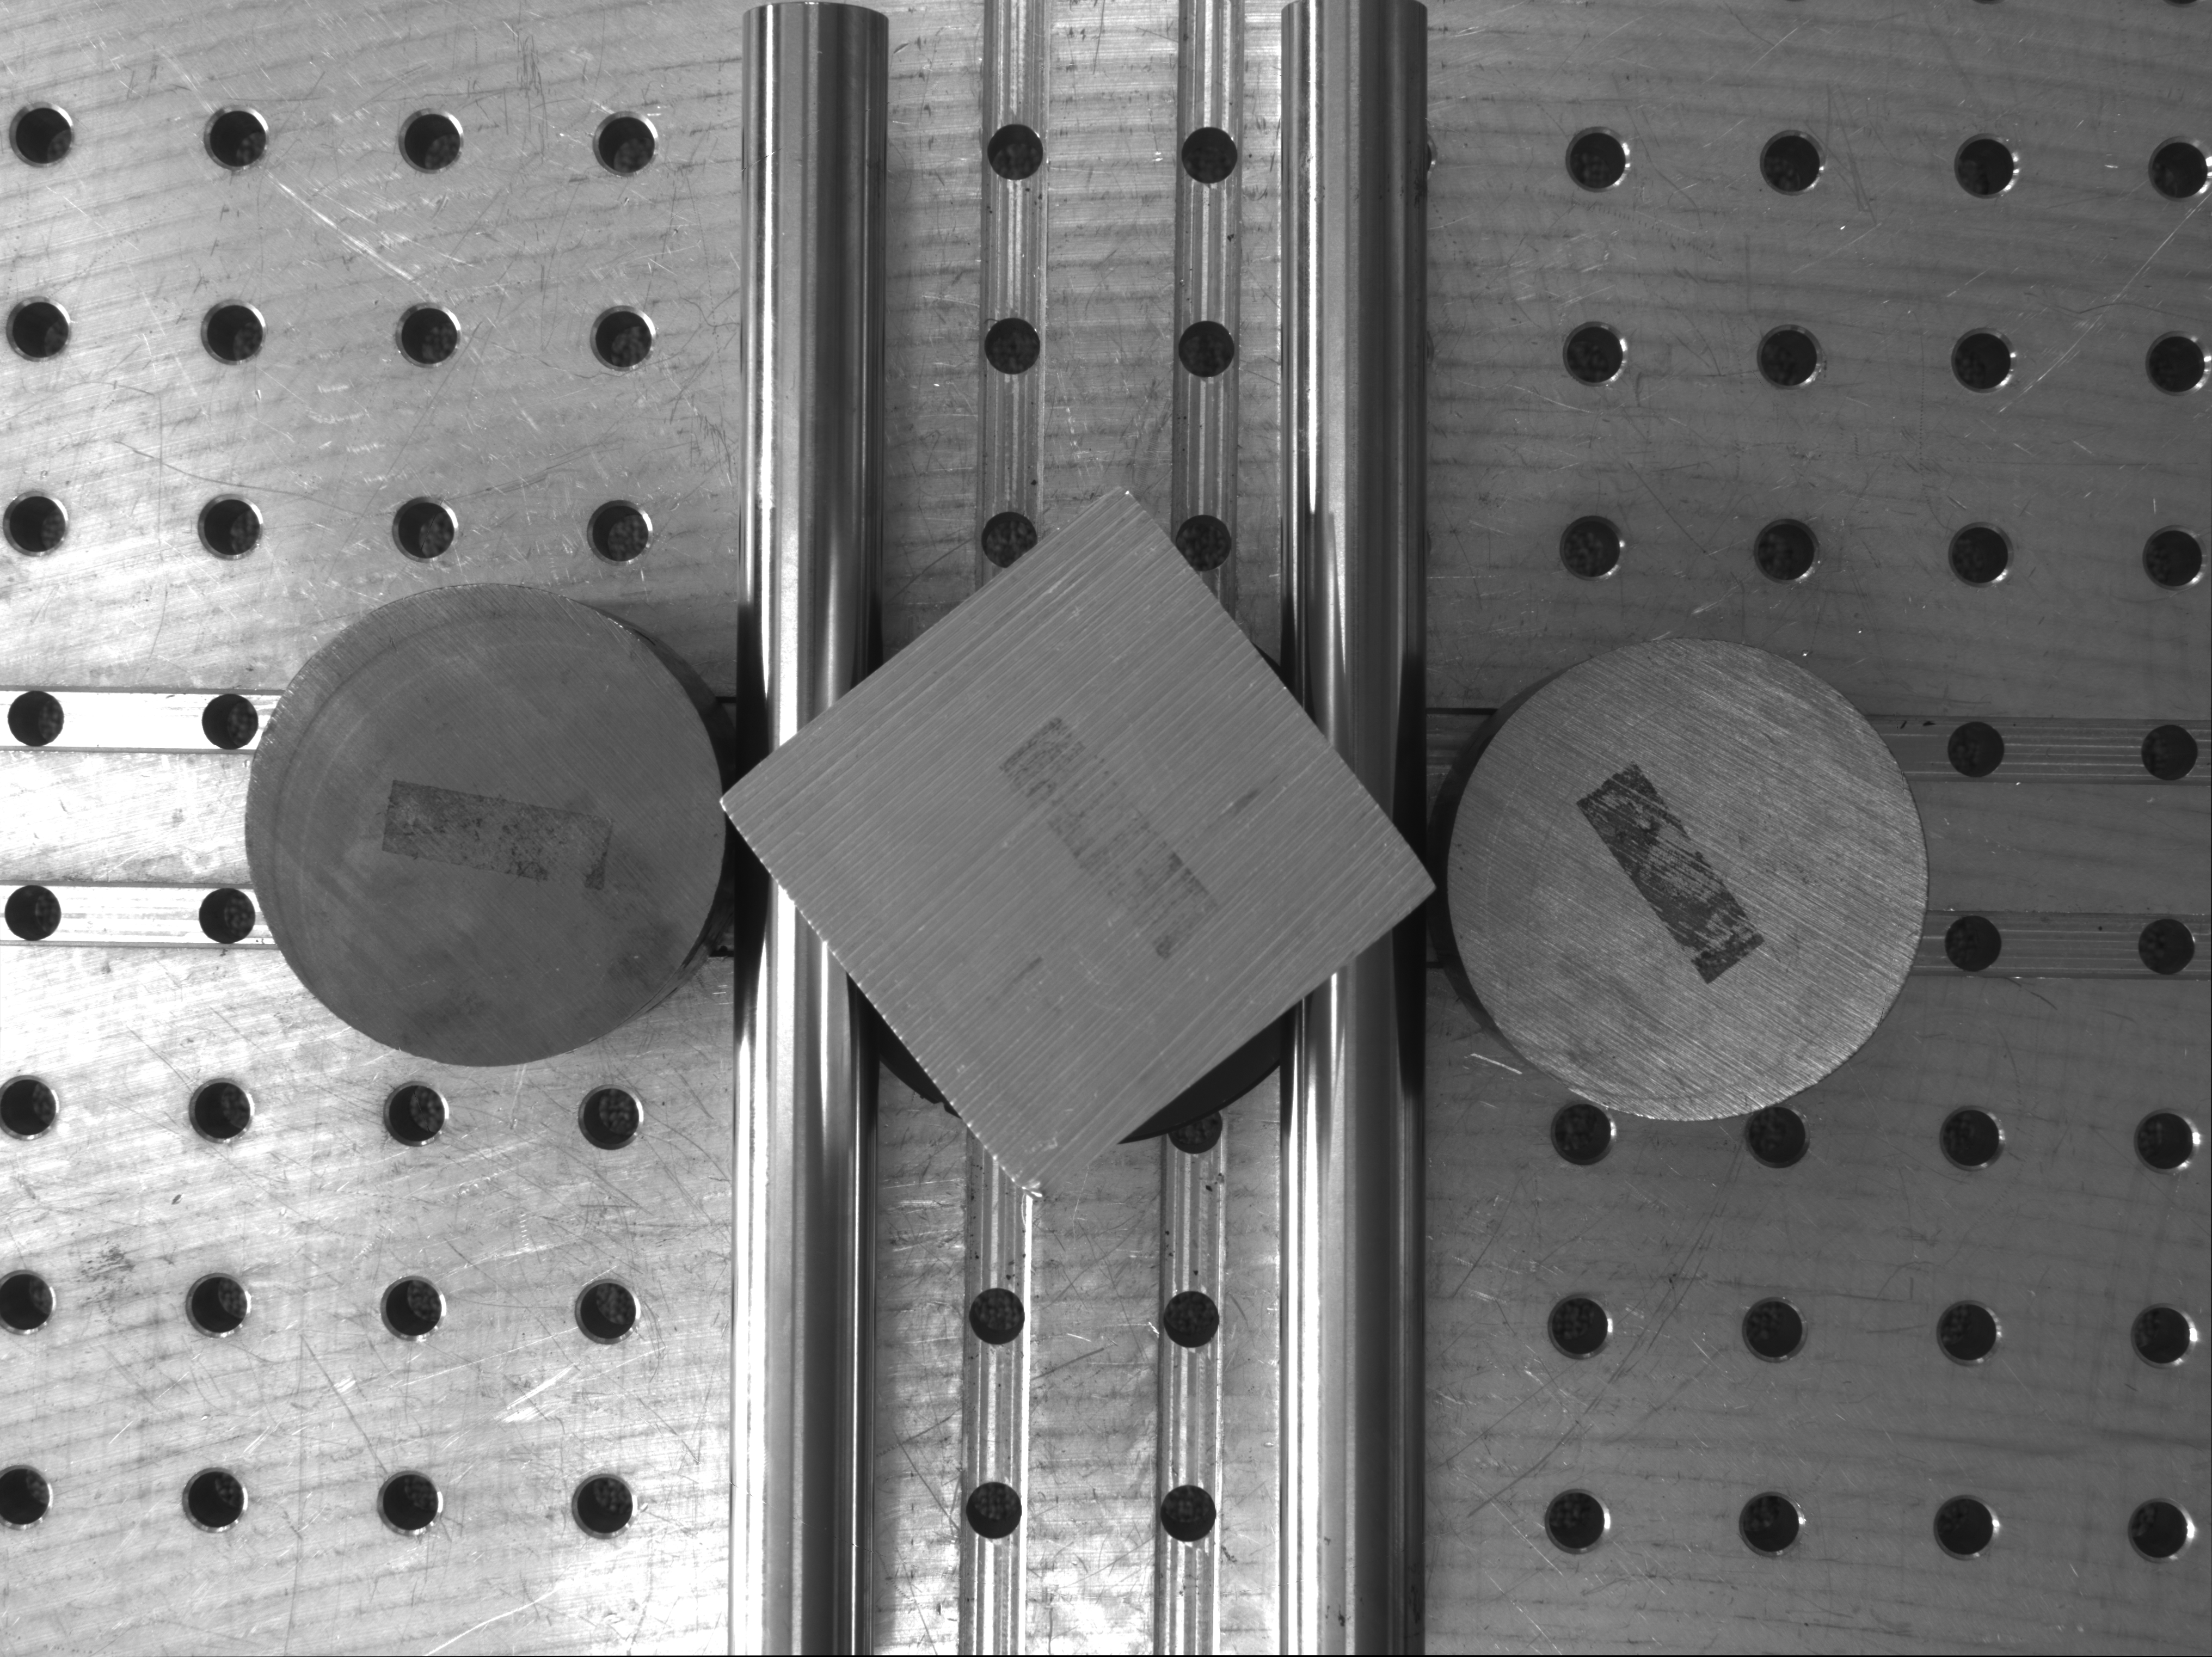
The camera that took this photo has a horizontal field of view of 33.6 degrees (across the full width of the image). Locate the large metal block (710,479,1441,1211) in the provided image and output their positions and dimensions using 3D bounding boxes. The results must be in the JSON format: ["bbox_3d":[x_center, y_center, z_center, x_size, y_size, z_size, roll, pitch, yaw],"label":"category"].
[{"bbox_3d":[-0.005,0.003,0.588,0.080,0.050,0.080,-38,90,0],"label":"large metal block"}]

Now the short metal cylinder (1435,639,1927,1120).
[{"bbox_3d":[0.097,0.009,0.635,0.080,0.050,0.080,0,90,0],"label":"short metal cylinder"}]

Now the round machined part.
[{"bbox_3d":[-0.005,0.006,0.640,0.098,0.042,0.098,0,90,0],"label":"round machined part"}]

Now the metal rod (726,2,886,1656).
[{"bbox_3d":[-0.051,0.012,0.626,0.025,0.025,0.300,0,90,0],"label":"metal rod"}]

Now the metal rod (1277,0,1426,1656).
[{"bbox_3d":[0.042,0.010,0.627,0.025,0.025,0.300,0,90,0],"label":"metal rod"}]

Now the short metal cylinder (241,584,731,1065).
[{"bbox_3d":[-0.104,-0.001,0.635,0.080,0.050,0.080,0,90,0],"label":"short metal cylinder"}]
